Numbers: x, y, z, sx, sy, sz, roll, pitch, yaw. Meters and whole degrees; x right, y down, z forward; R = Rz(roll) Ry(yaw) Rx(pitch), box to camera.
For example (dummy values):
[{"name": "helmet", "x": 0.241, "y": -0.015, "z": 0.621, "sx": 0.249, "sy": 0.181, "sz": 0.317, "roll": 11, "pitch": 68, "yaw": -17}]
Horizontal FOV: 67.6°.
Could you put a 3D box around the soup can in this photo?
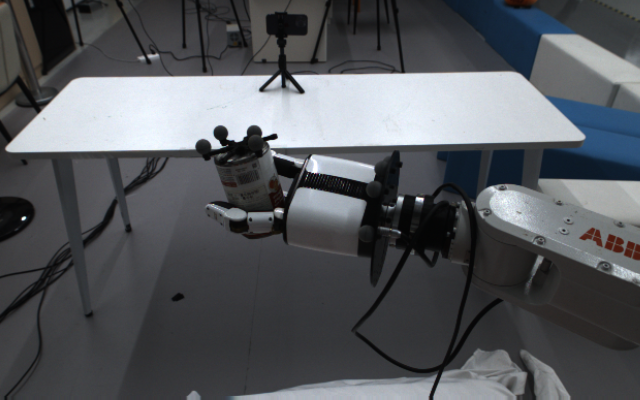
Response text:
[{"name": "soup can", "x": -0.078, "y": -0.013, "z": 0.578, "sx": 0.067, "sy": 0.101, "sz": 0.067, "roll": -11, "pitch": 27, "yaw": 6}]
